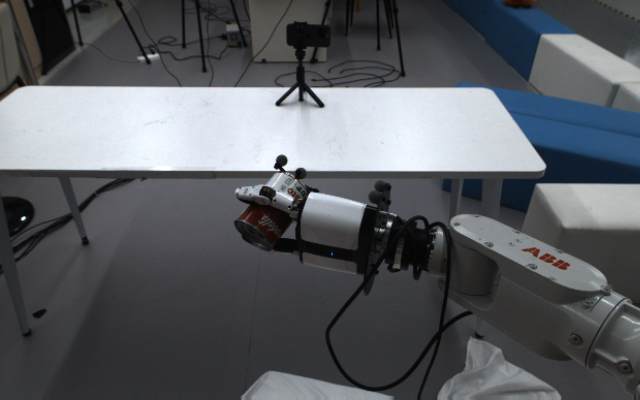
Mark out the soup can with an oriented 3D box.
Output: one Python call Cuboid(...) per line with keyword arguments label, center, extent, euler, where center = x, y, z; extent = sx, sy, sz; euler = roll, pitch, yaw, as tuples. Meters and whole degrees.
Cuboid(label="soup can", center=(-0.068, 0.015, 0.710), extent=(0.067, 0.067, 0.101), euler=(22, 60, 26))
